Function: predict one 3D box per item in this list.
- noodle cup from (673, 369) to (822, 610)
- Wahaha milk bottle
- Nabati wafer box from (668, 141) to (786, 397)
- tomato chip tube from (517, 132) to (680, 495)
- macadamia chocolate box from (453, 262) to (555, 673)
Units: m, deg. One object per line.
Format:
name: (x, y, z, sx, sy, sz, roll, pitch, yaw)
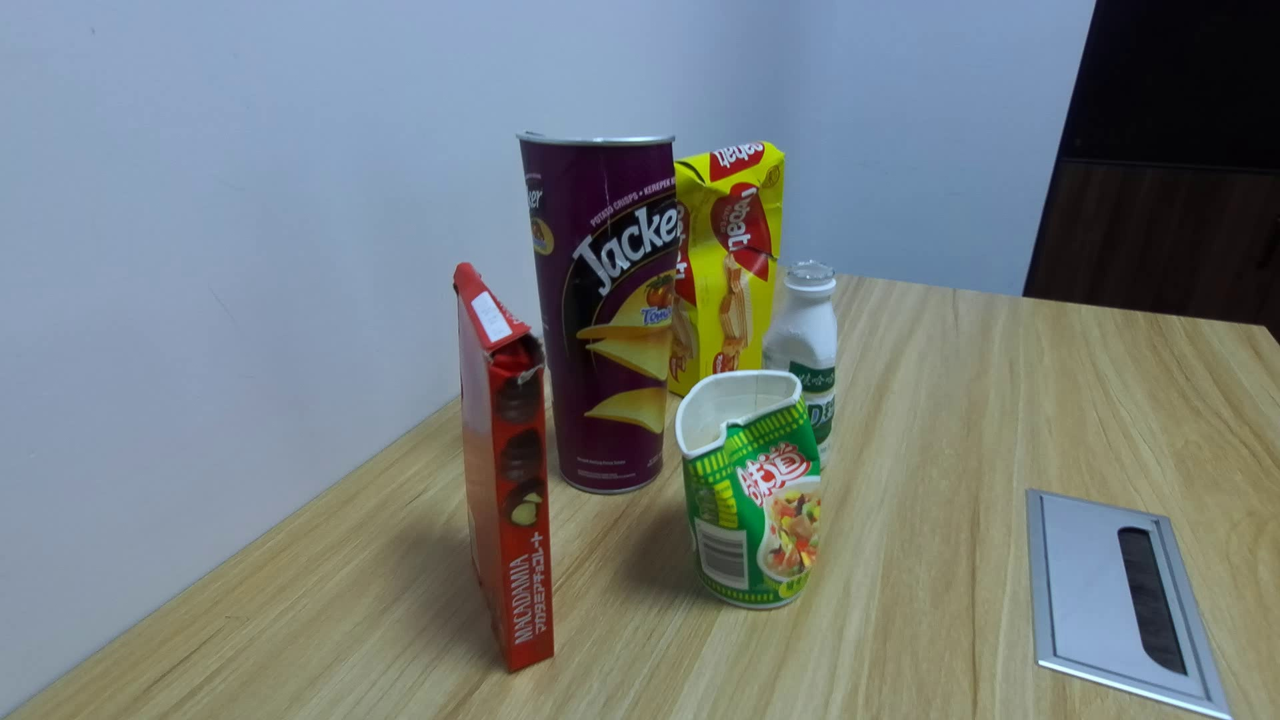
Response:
noodle cup: (0.065, 0.073, 0.396, 0.083, 0.122, 0.075, -15, 22, -7)
Wahaha milk bottle: (0.110, 0.007, 0.485, 0.055, 0.149, 0.055, 0, 29, 0)
Nabati wafer box: (0.067, -0.068, 0.578, 0.107, 0.204, 0.042, -22, 33, -37)
tomato chip tube: (-0.022, -0.028, 0.472, 0.076, 0.235, 0.077, -16, 29, -27)
macadamia chocolate box: (-0.072, 0.054, 0.359, 0.027, 0.187, 0.102, -9, 27, -22)
